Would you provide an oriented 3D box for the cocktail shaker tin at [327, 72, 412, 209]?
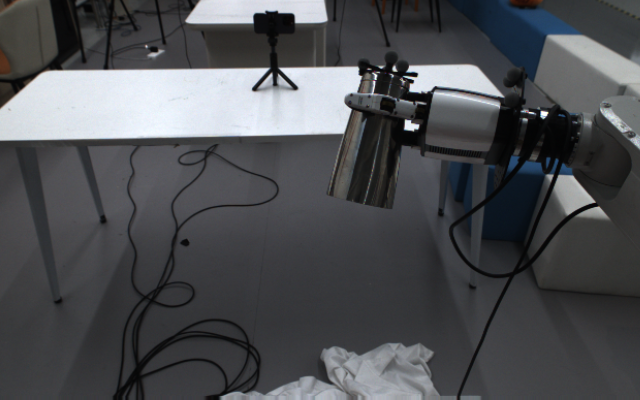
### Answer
[{"bbox_3d":[0.073,-0.083,0.660,0.093,0.170,0.093,13,3,-1],"label":"cocktail shaker tin"}]
